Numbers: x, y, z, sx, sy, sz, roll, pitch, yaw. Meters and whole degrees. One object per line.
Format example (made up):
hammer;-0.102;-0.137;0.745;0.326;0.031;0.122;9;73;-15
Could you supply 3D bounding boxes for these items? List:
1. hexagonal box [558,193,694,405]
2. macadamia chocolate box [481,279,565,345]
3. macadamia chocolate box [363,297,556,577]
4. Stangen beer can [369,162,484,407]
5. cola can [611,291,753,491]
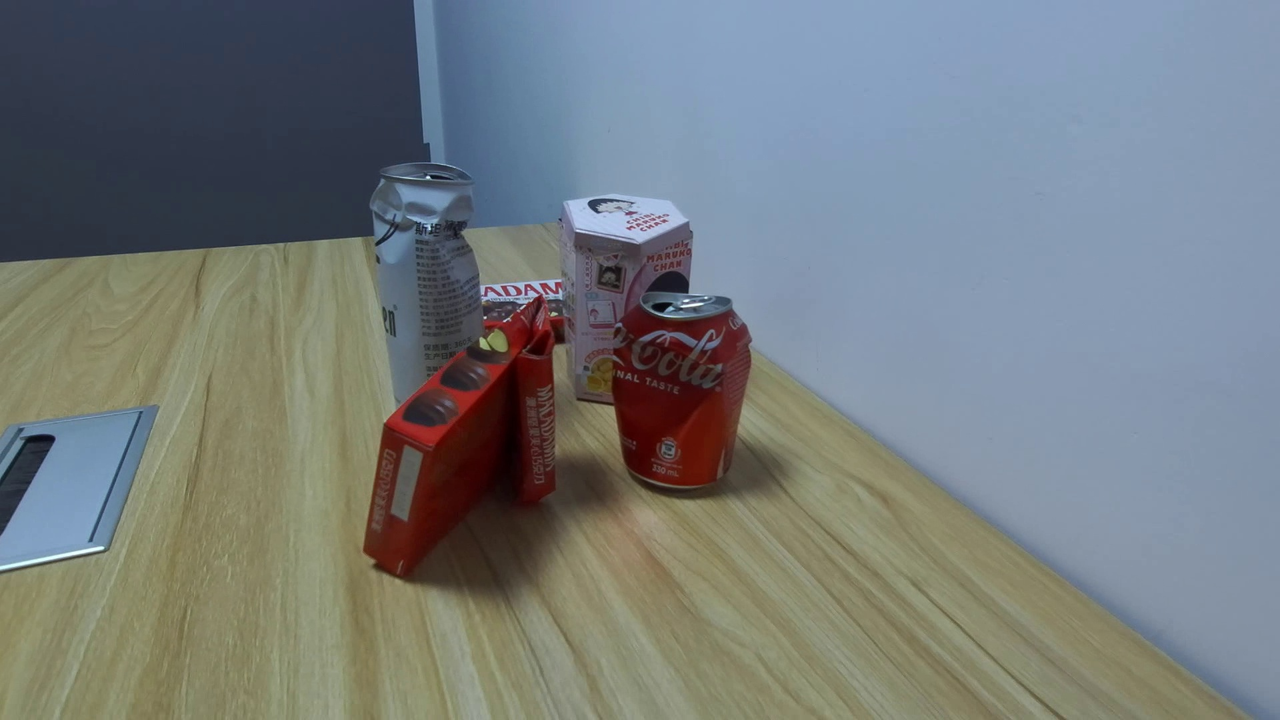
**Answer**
hexagonal box;-0.011;-0.044;0.514;0.092;0.135;0.084;-19;32;-37
macadamia chocolate box;-0.106;-0.041;0.637;0.187;0.027;0.102;-10;30;-18
macadamia chocolate box;-0.085;0.038;0.366;0.056;0.112;0.127;16;28;24
Stangen beer can;-0.132;-0.039;0.460;0.065;0.166;0.066;21;31;31
cola can;0.026;0.017;0.413;0.066;0.112;0.069;-20;33;-39
